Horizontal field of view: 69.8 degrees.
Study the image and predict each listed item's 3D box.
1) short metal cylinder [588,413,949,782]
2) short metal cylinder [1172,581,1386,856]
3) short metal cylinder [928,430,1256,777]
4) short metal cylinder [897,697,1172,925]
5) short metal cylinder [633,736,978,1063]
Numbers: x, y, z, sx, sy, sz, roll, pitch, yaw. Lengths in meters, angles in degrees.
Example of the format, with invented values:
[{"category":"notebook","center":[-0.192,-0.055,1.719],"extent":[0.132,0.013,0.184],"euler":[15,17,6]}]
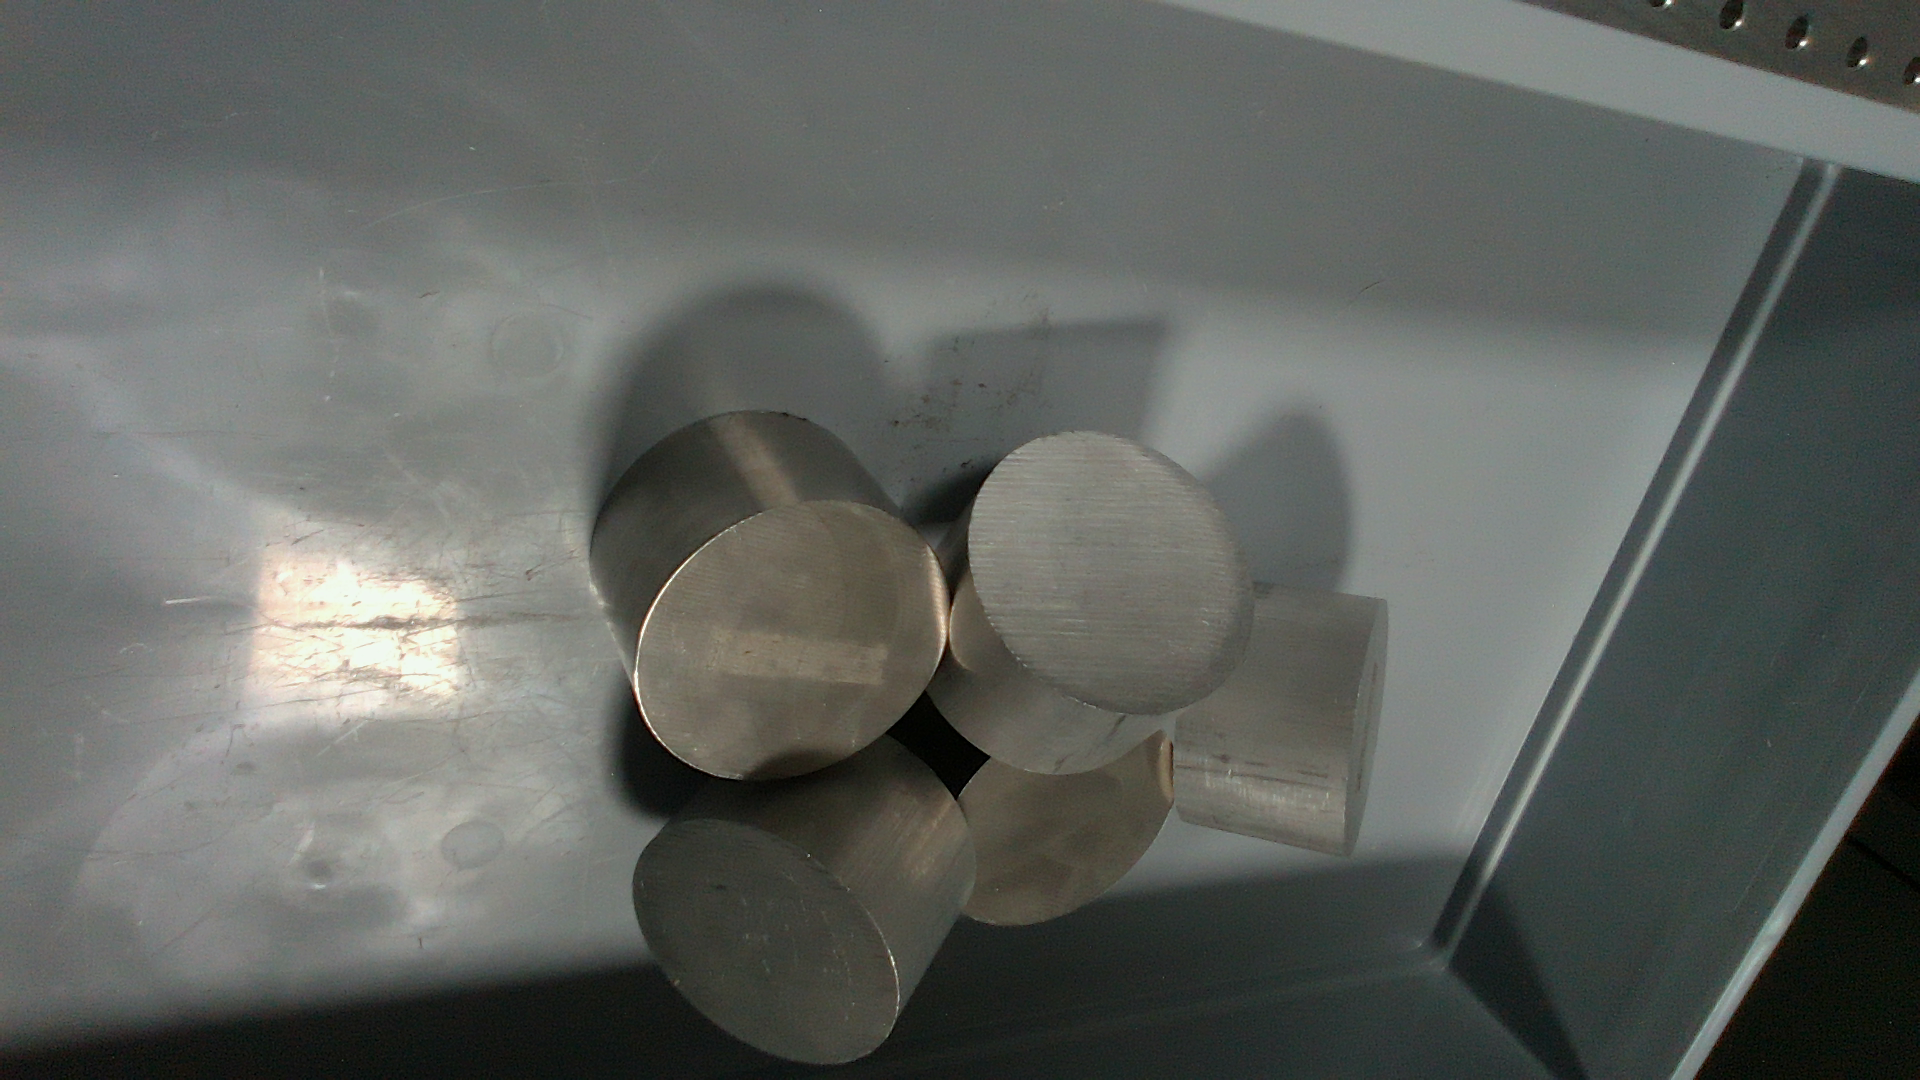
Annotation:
[{"category":"short metal cylinder","center":[-0.050,0.014,0.352],"extent":[0.080,0.050,0.080],"euler":[-14,124,-21]},{"category":"short metal cylinder","center":[0.102,0.054,0.434],"extent":[0.080,0.050,0.080],"euler":[8,90,-68]},{"category":"short metal cylinder","center":[0.032,0.018,0.371],"extent":[0.080,0.080,0.050],"euler":[-8,158,-24]},{"category":"short metal cylinder","center":[0.020,0.071,0.426],"extent":[0.080,0.050,0.080],"euler":[-14,124,-21]},{"category":"short metal cylinder","center":[-0.042,0.095,0.379],"extent":[0.050,0.080,0.080],"euler":[-49,148,-53]}]
